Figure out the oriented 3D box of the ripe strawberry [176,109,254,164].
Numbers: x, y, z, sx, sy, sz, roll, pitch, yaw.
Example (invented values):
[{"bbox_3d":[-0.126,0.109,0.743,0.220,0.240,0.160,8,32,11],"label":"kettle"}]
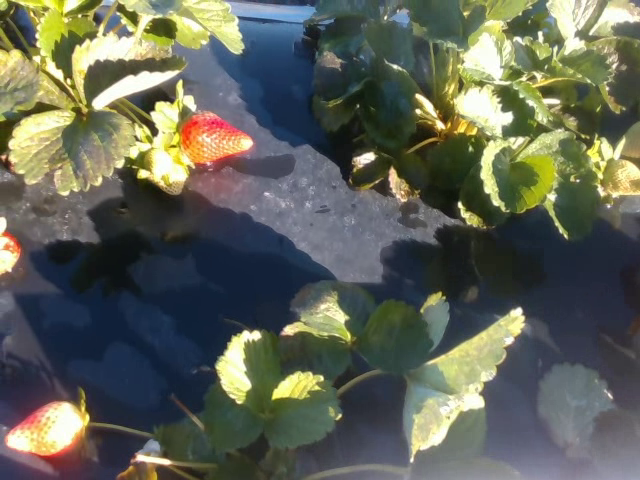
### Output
[{"bbox_3d":[-0.080,-0.078,0.471,0.064,0.050,0.052,7,3,3],"label":"ripe strawberry"}]
